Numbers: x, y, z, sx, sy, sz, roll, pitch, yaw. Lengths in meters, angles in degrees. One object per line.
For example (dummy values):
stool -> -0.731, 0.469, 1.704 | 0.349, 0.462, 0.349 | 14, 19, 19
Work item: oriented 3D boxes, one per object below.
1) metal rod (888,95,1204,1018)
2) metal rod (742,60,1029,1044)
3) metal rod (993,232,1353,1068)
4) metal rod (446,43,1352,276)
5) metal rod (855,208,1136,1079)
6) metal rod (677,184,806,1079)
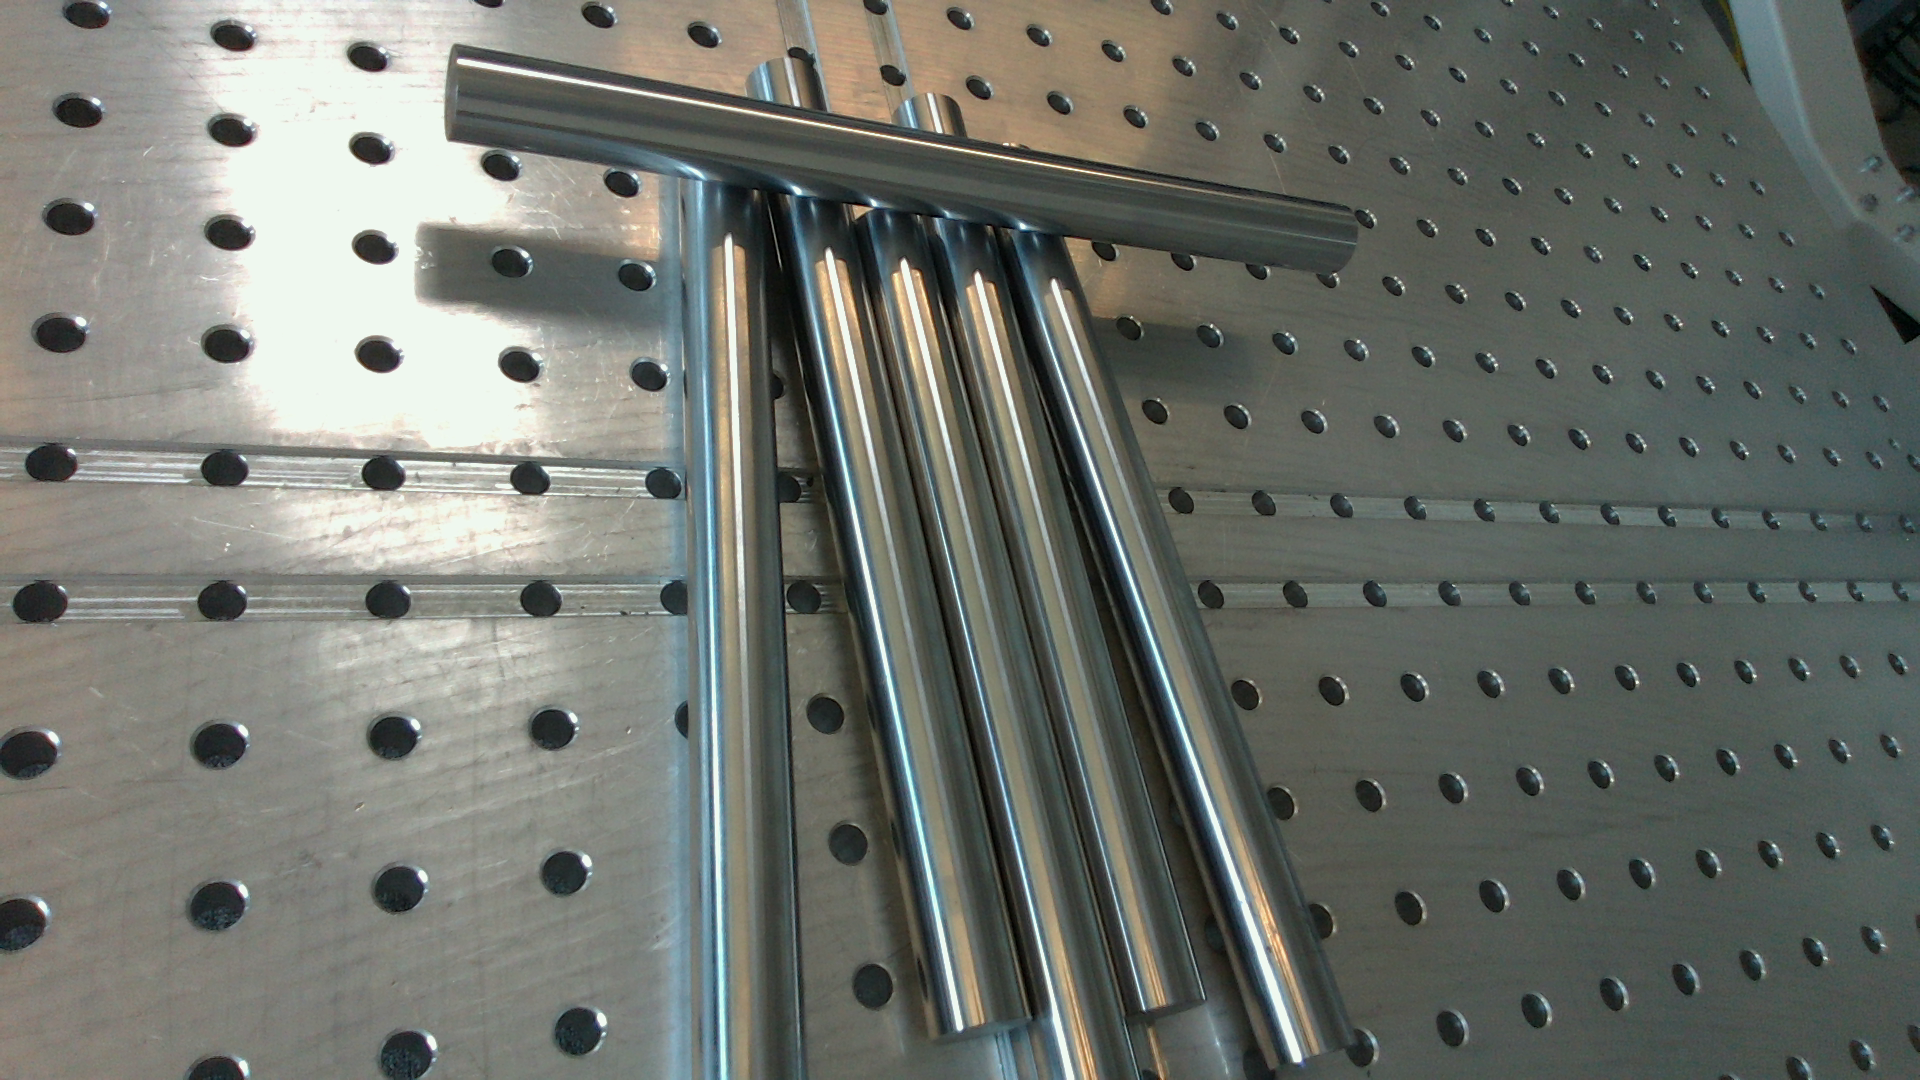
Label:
metal rod -> 0.018, -0.013, 0.411 | 0.025, 0.025, 0.300 | 1, 61, -28
metal rod -> -0.028, -0.016, 0.388 | 0.025, 0.025, 0.300 | 1, 61, -28
metal rod -> 0.052, 0.003, 0.419 | 0.025, 0.025, 0.300 | -2, 63, -29
metal rod -> 0.000, -0.113, 0.429 | 0.301, 0.025, 0.025 | 2, 61, -27
metal rod -> 0.007, 0.033, 0.376 | 0.025, 0.025, 0.300 | 1, 61, -28
metal rod -> -0.060, 0.000, 0.359 | 0.025, 0.025, 0.300 | 7, 58, -24
